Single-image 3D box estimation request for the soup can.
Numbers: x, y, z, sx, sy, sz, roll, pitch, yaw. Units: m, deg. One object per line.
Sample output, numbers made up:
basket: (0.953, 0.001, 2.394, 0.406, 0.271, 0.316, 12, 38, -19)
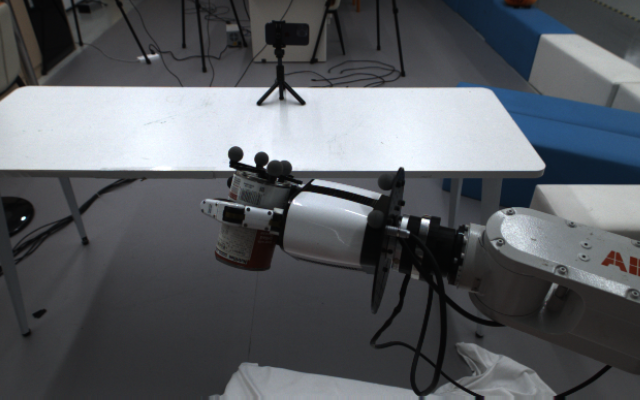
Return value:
soup can: (-0.075, 0.022, 0.554, 0.067, 0.101, 0.067, 15, 7, -2)
